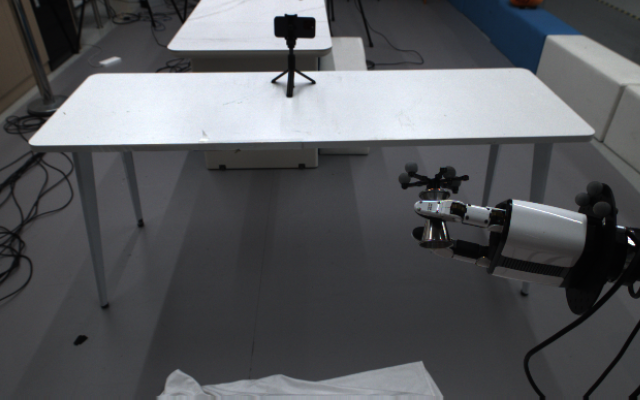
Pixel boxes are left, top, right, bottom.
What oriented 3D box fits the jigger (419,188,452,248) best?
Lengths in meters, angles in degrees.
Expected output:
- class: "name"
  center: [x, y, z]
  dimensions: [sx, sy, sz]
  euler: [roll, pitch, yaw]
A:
- class: "jigger"
  center: [0.146, 0.023, 0.619]
  dimensions: [0.043, 0.043, 0.071]
  euler: [3, 72, 2]
